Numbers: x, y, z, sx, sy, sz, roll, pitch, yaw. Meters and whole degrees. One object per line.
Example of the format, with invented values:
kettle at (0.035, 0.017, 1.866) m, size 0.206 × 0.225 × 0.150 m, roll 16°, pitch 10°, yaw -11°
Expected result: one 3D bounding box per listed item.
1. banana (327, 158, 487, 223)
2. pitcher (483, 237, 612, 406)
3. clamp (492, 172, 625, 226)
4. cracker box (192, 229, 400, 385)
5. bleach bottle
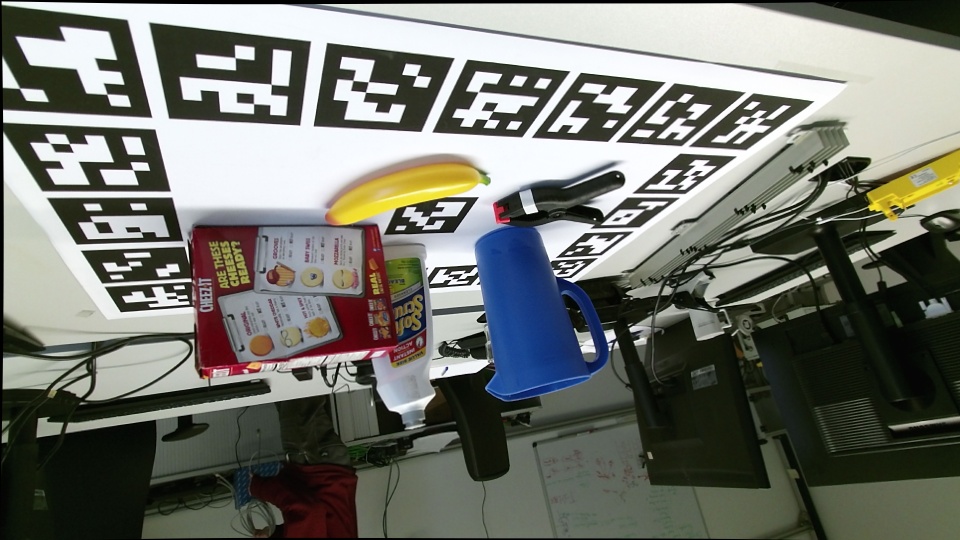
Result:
banana at (-0.093, -0.092, 0.617) m, size 0.198 × 0.038 × 0.074 m, roll -16°, pitch 161°, yaw 7°
pitcher at (0.088, 0.076, 0.805) m, size 0.189 × 0.241 × 0.133 m, roll -8°, pitch 161°, yaw -6°
clamp at (0.100, -0.089, 0.729) m, size 0.166 × 0.036 × 0.122 m, roll -8°, pitch 162°, yaw -9°
cracker box at (-0.220, 0.039, 0.646) m, size 0.214 × 0.163 × 0.072 m, roll -5°, pitch 162°, yaw -27°
bleach bottle at (-0.101, 0.085, 0.766) m, size 0.103 × 0.249 × 0.068 m, roll -4°, pitch 160°, yaw -25°
